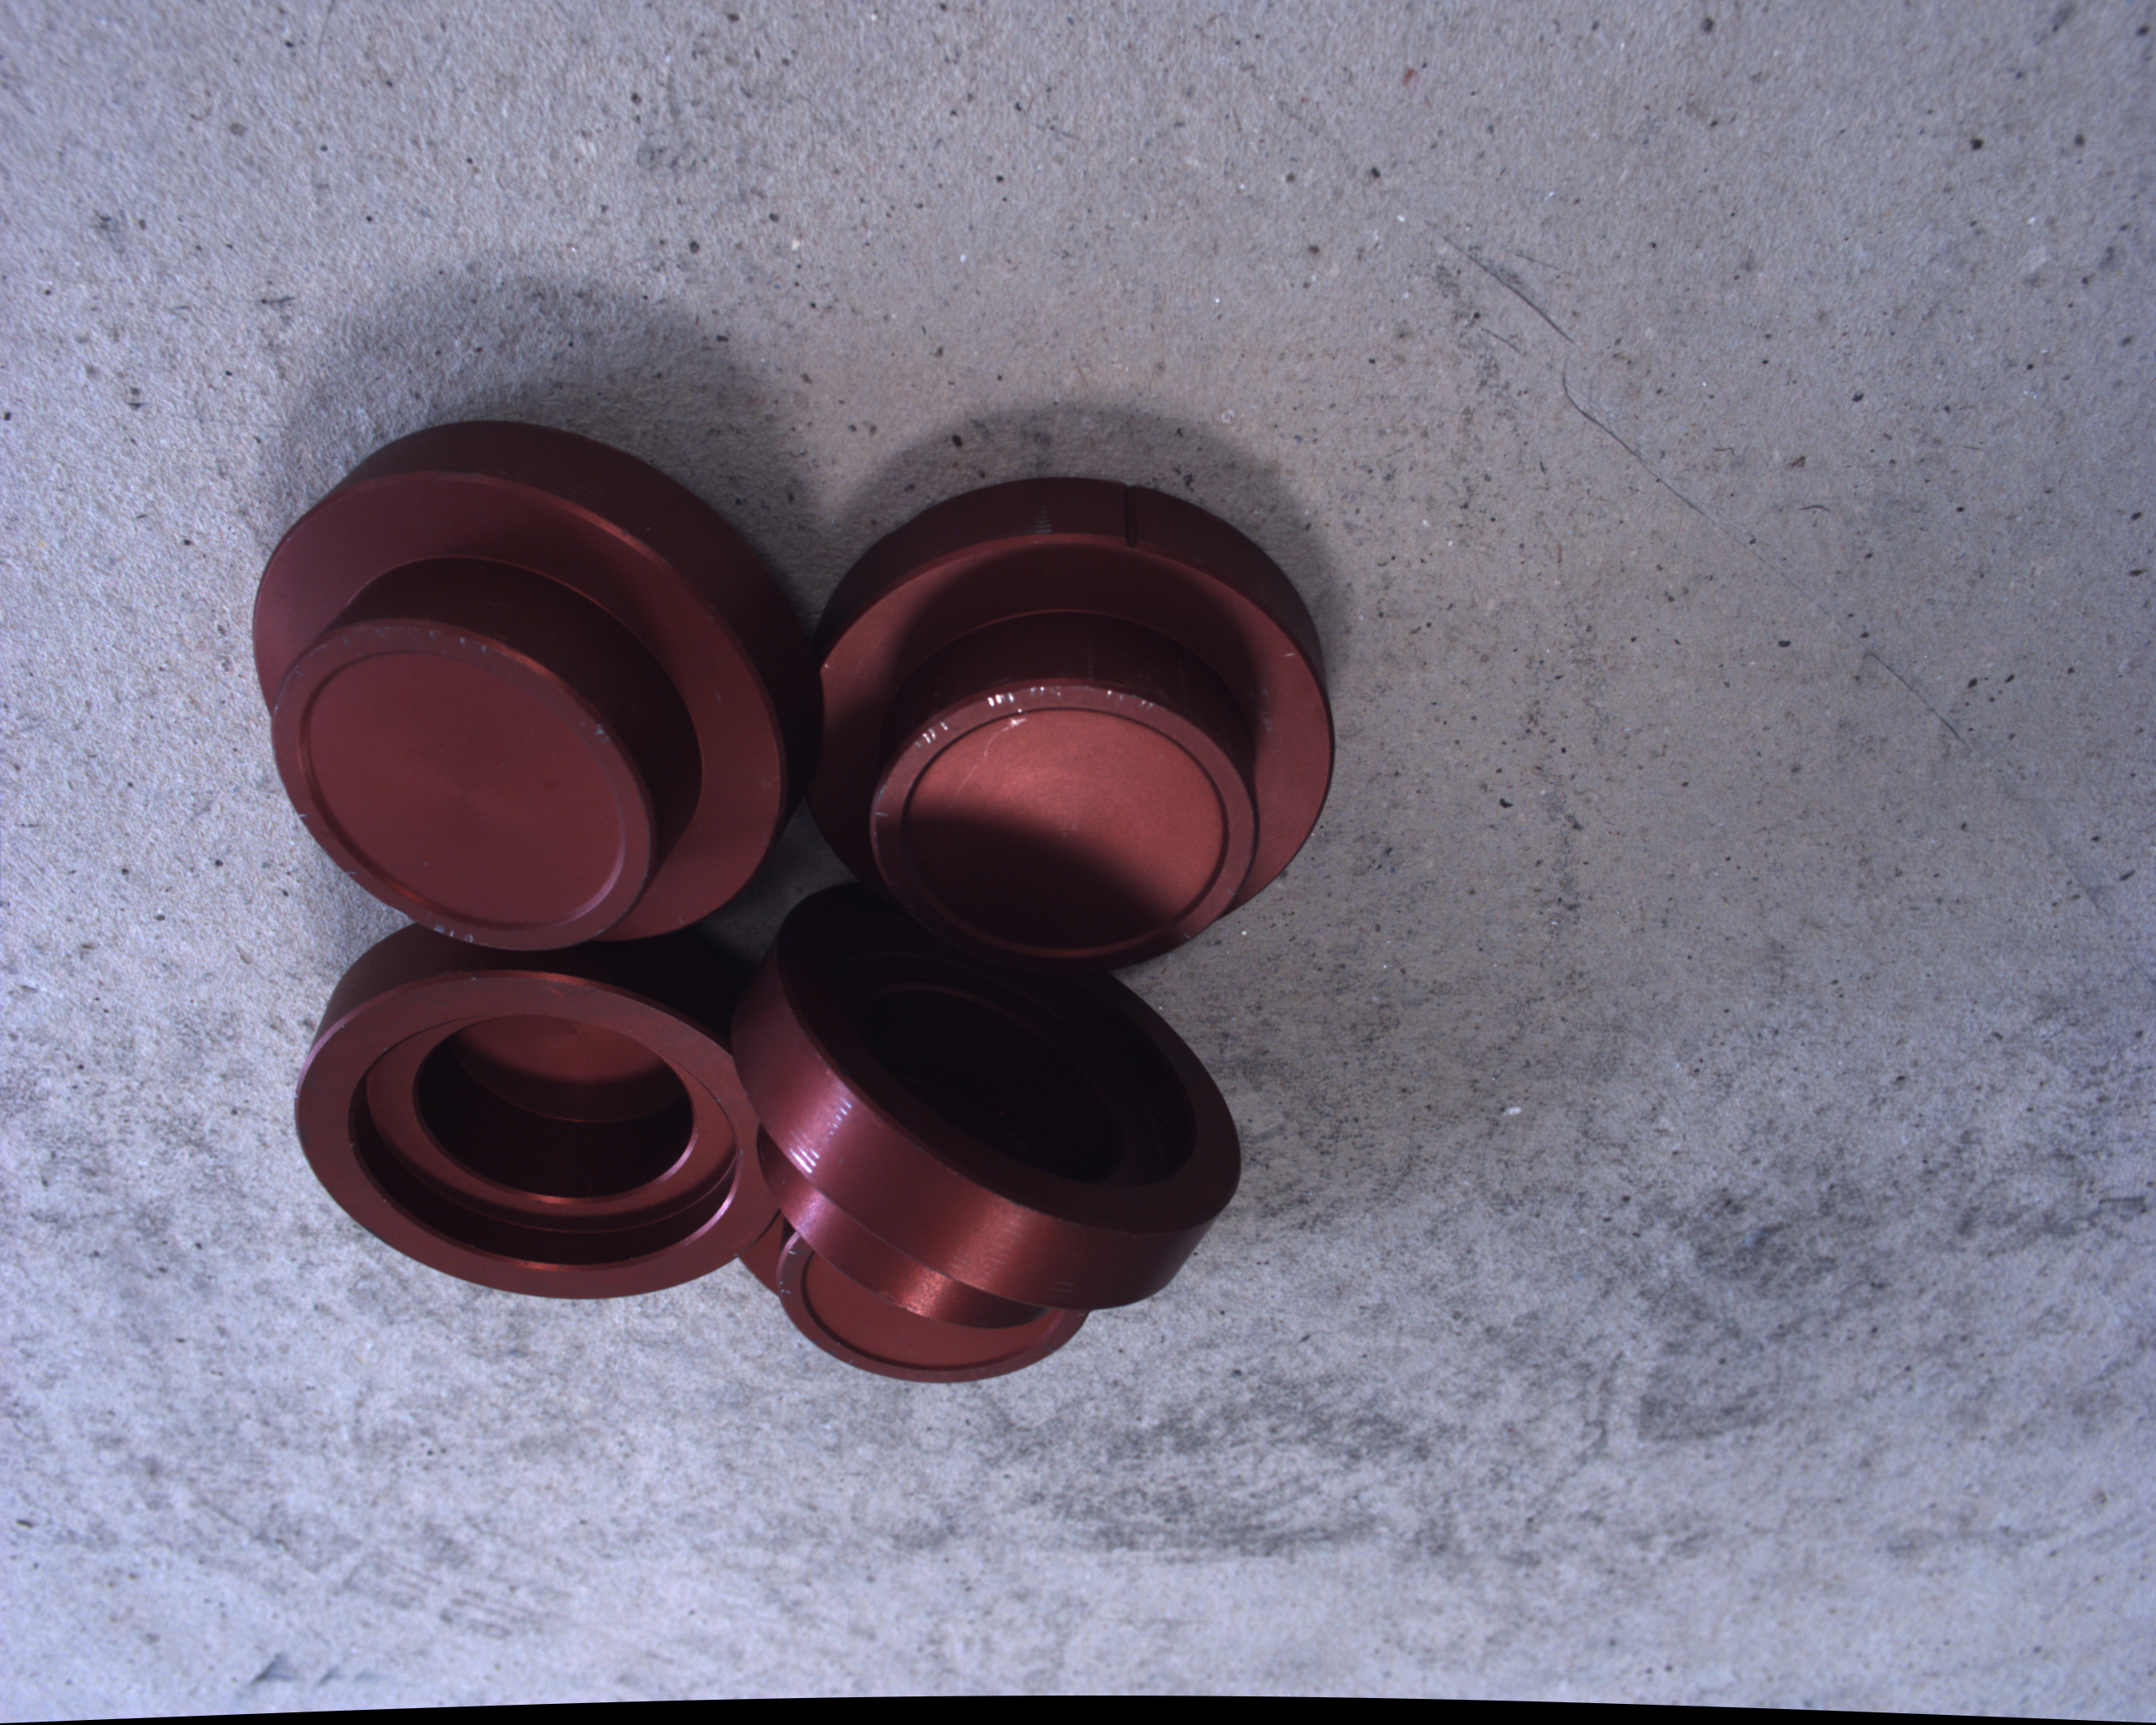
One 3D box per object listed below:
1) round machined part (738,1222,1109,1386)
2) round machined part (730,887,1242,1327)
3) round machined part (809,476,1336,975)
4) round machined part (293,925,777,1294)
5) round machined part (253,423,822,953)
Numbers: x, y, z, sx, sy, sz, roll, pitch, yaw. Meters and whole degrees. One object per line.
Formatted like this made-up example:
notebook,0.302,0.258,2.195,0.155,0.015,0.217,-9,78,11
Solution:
round machined part,-0.030,0.079,0.464,0.099,0.042,0.097,-1,129,-1
round machined part,-0.021,0.050,0.400,0.099,0.098,0.042,23,113,-19
round machined part,-0.002,-0.018,0.382,0.099,0.042,0.097,-1,129,-1
round machined part,-0.107,0.044,0.434,0.099,0.042,0.097,0,132,0
round machined part,-0.098,-0.023,0.363,0.098,0.042,0.097,8,129,10
